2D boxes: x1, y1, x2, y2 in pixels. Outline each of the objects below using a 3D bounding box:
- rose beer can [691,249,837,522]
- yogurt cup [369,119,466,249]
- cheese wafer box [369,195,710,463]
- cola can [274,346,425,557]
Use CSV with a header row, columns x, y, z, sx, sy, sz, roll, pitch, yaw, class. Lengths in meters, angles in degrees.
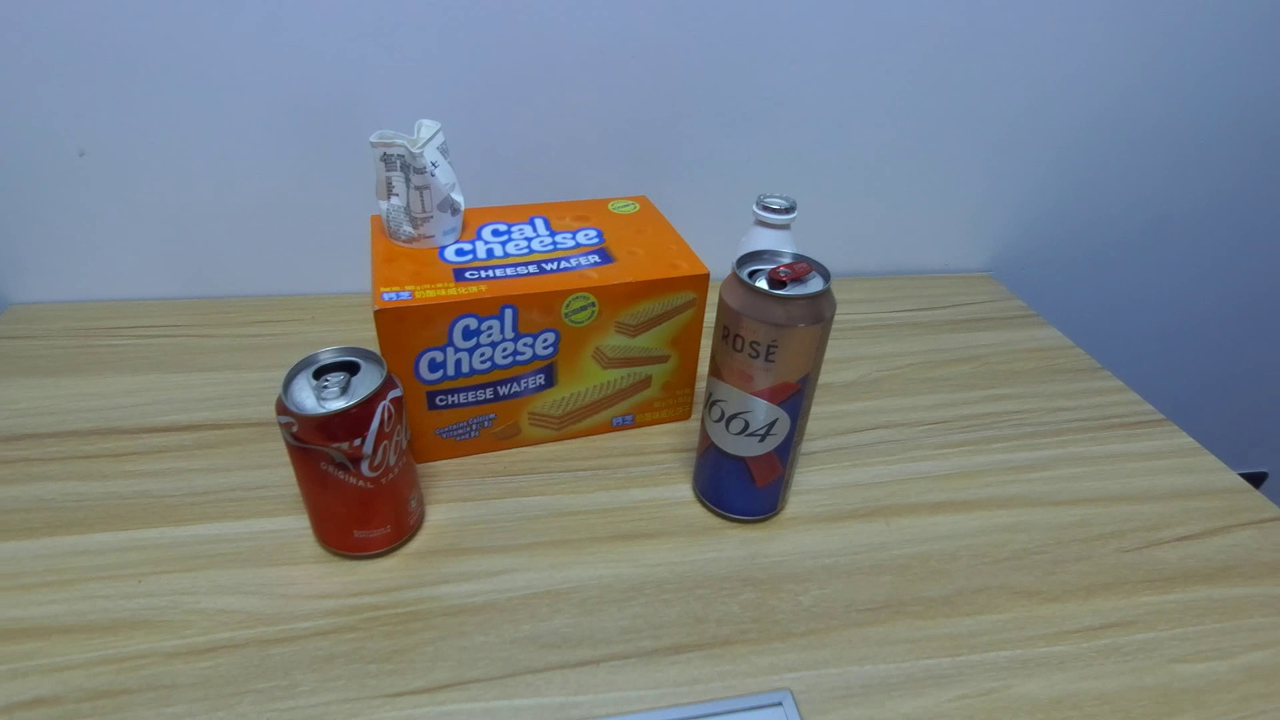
x,y,z,sx,sy,sz,roll,pitch,yaw,class
0.075,0.021,0.438,0.069,0.169,0.068,3,34,-2,rose beer can
-0.152,-0.120,0.483,0.055,0.072,0.055,20,37,20,yogurt cup
-0.079,-0.031,0.537,0.222,0.129,0.147,-8,36,-17,cheese wafer box
-0.163,0.054,0.410,0.072,0.117,0.065,22,37,26,cola can
